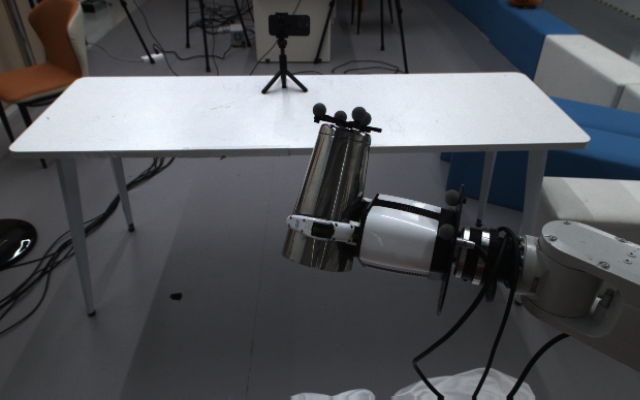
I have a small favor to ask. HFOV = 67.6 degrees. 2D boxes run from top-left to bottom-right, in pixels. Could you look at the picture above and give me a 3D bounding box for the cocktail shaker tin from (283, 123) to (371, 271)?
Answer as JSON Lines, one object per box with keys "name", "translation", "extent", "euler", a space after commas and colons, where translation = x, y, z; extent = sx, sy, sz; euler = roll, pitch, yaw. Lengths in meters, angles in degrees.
{"name": "cocktail shaker tin", "translation": [0.015, -0.004, 0.614], "extent": [0.093, 0.170, 0.093], "euler": [13, 4, -1]}
